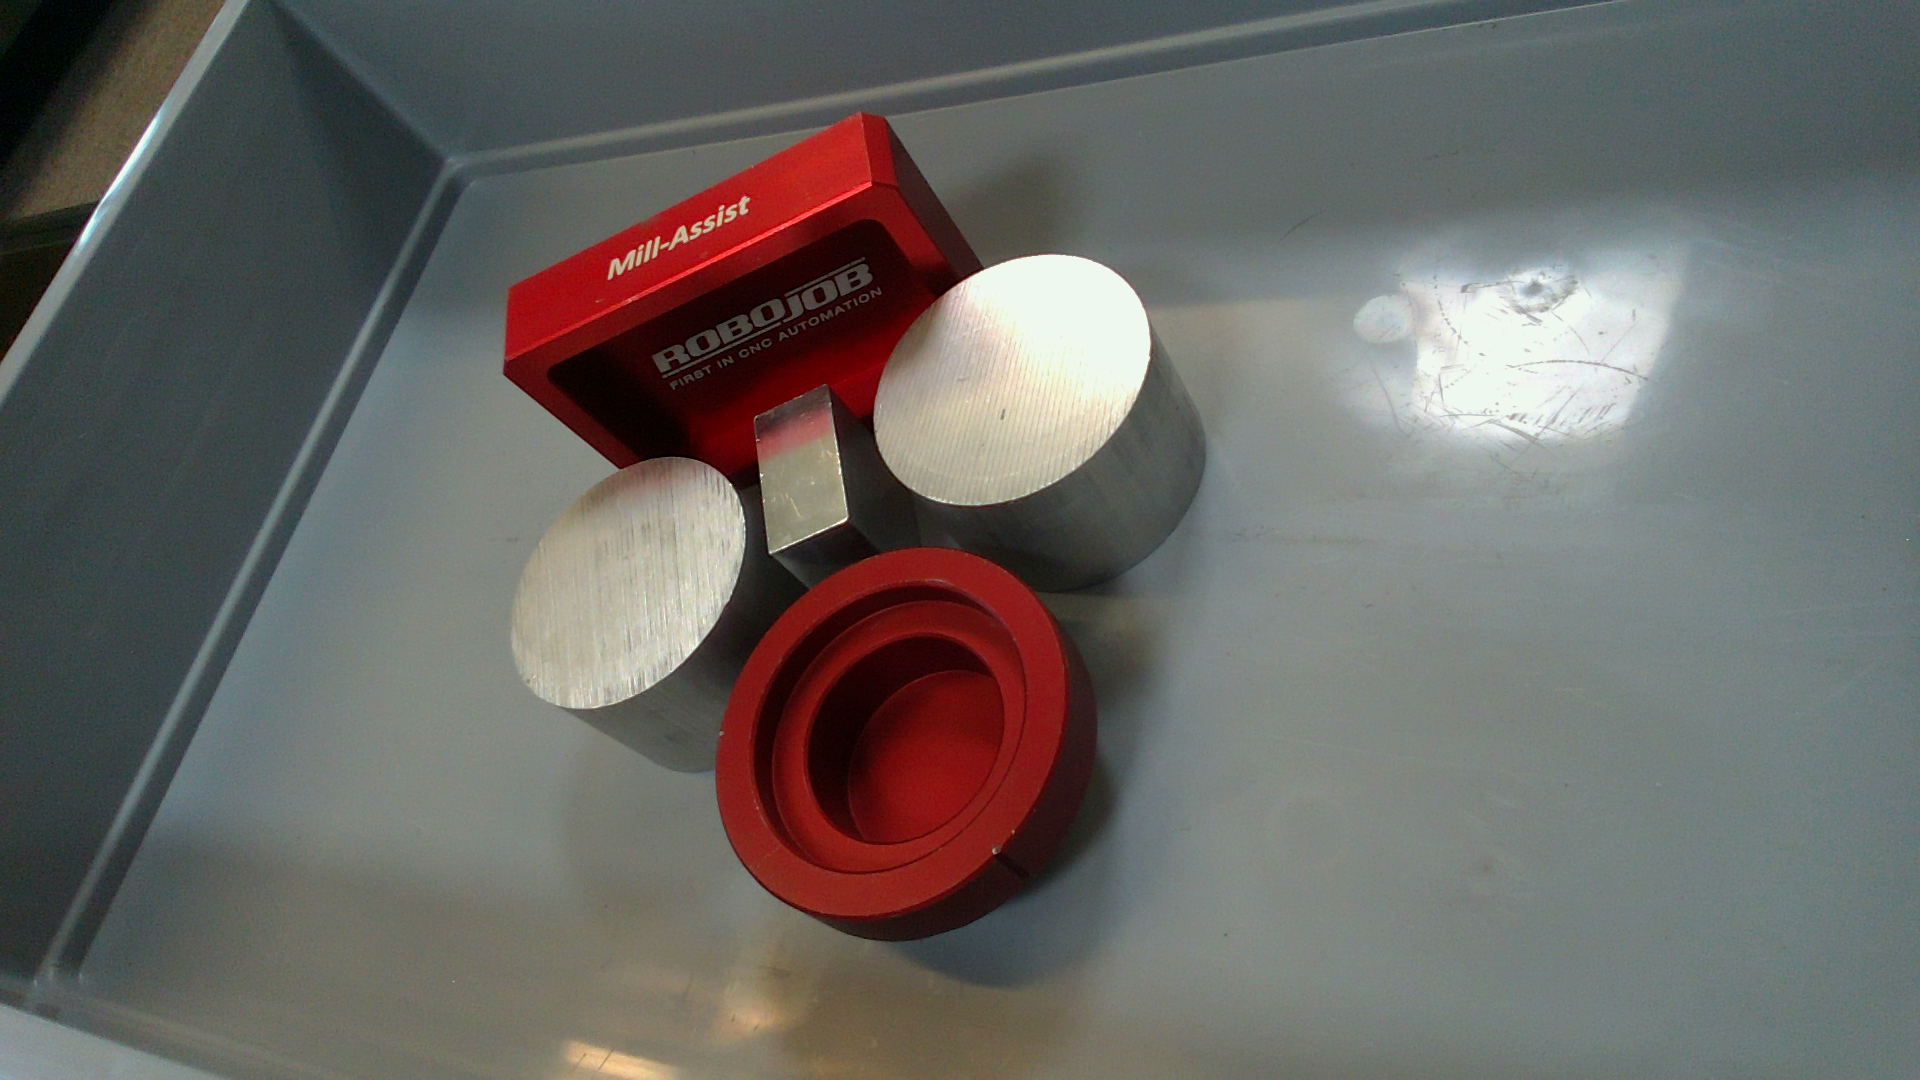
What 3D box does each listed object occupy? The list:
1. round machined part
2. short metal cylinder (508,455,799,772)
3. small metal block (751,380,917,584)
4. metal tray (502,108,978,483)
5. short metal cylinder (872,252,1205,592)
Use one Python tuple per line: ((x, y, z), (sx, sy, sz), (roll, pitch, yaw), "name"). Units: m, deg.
((-0.011, 0.054, 0.353), (0.098, 0.042, 0.098), (-13, 56, 21), "round machined part")
((-0.085, 0.022, 0.408), (0.080, 0.050, 0.080), (-13, 56, 21), "short metal cylinder")
((-0.035, -0.009, 0.399), (0.025, 0.050, 0.050), (-23, 53, 15), "small metal block")
((-0.060, -0.065, 0.422), (0.130, 0.090, 0.030), (-22, 53, 16), "metal tray")
((0.023, -0.033, 0.384), (0.080, 0.050, 0.080), (-13, 56, 21), "short metal cylinder")
